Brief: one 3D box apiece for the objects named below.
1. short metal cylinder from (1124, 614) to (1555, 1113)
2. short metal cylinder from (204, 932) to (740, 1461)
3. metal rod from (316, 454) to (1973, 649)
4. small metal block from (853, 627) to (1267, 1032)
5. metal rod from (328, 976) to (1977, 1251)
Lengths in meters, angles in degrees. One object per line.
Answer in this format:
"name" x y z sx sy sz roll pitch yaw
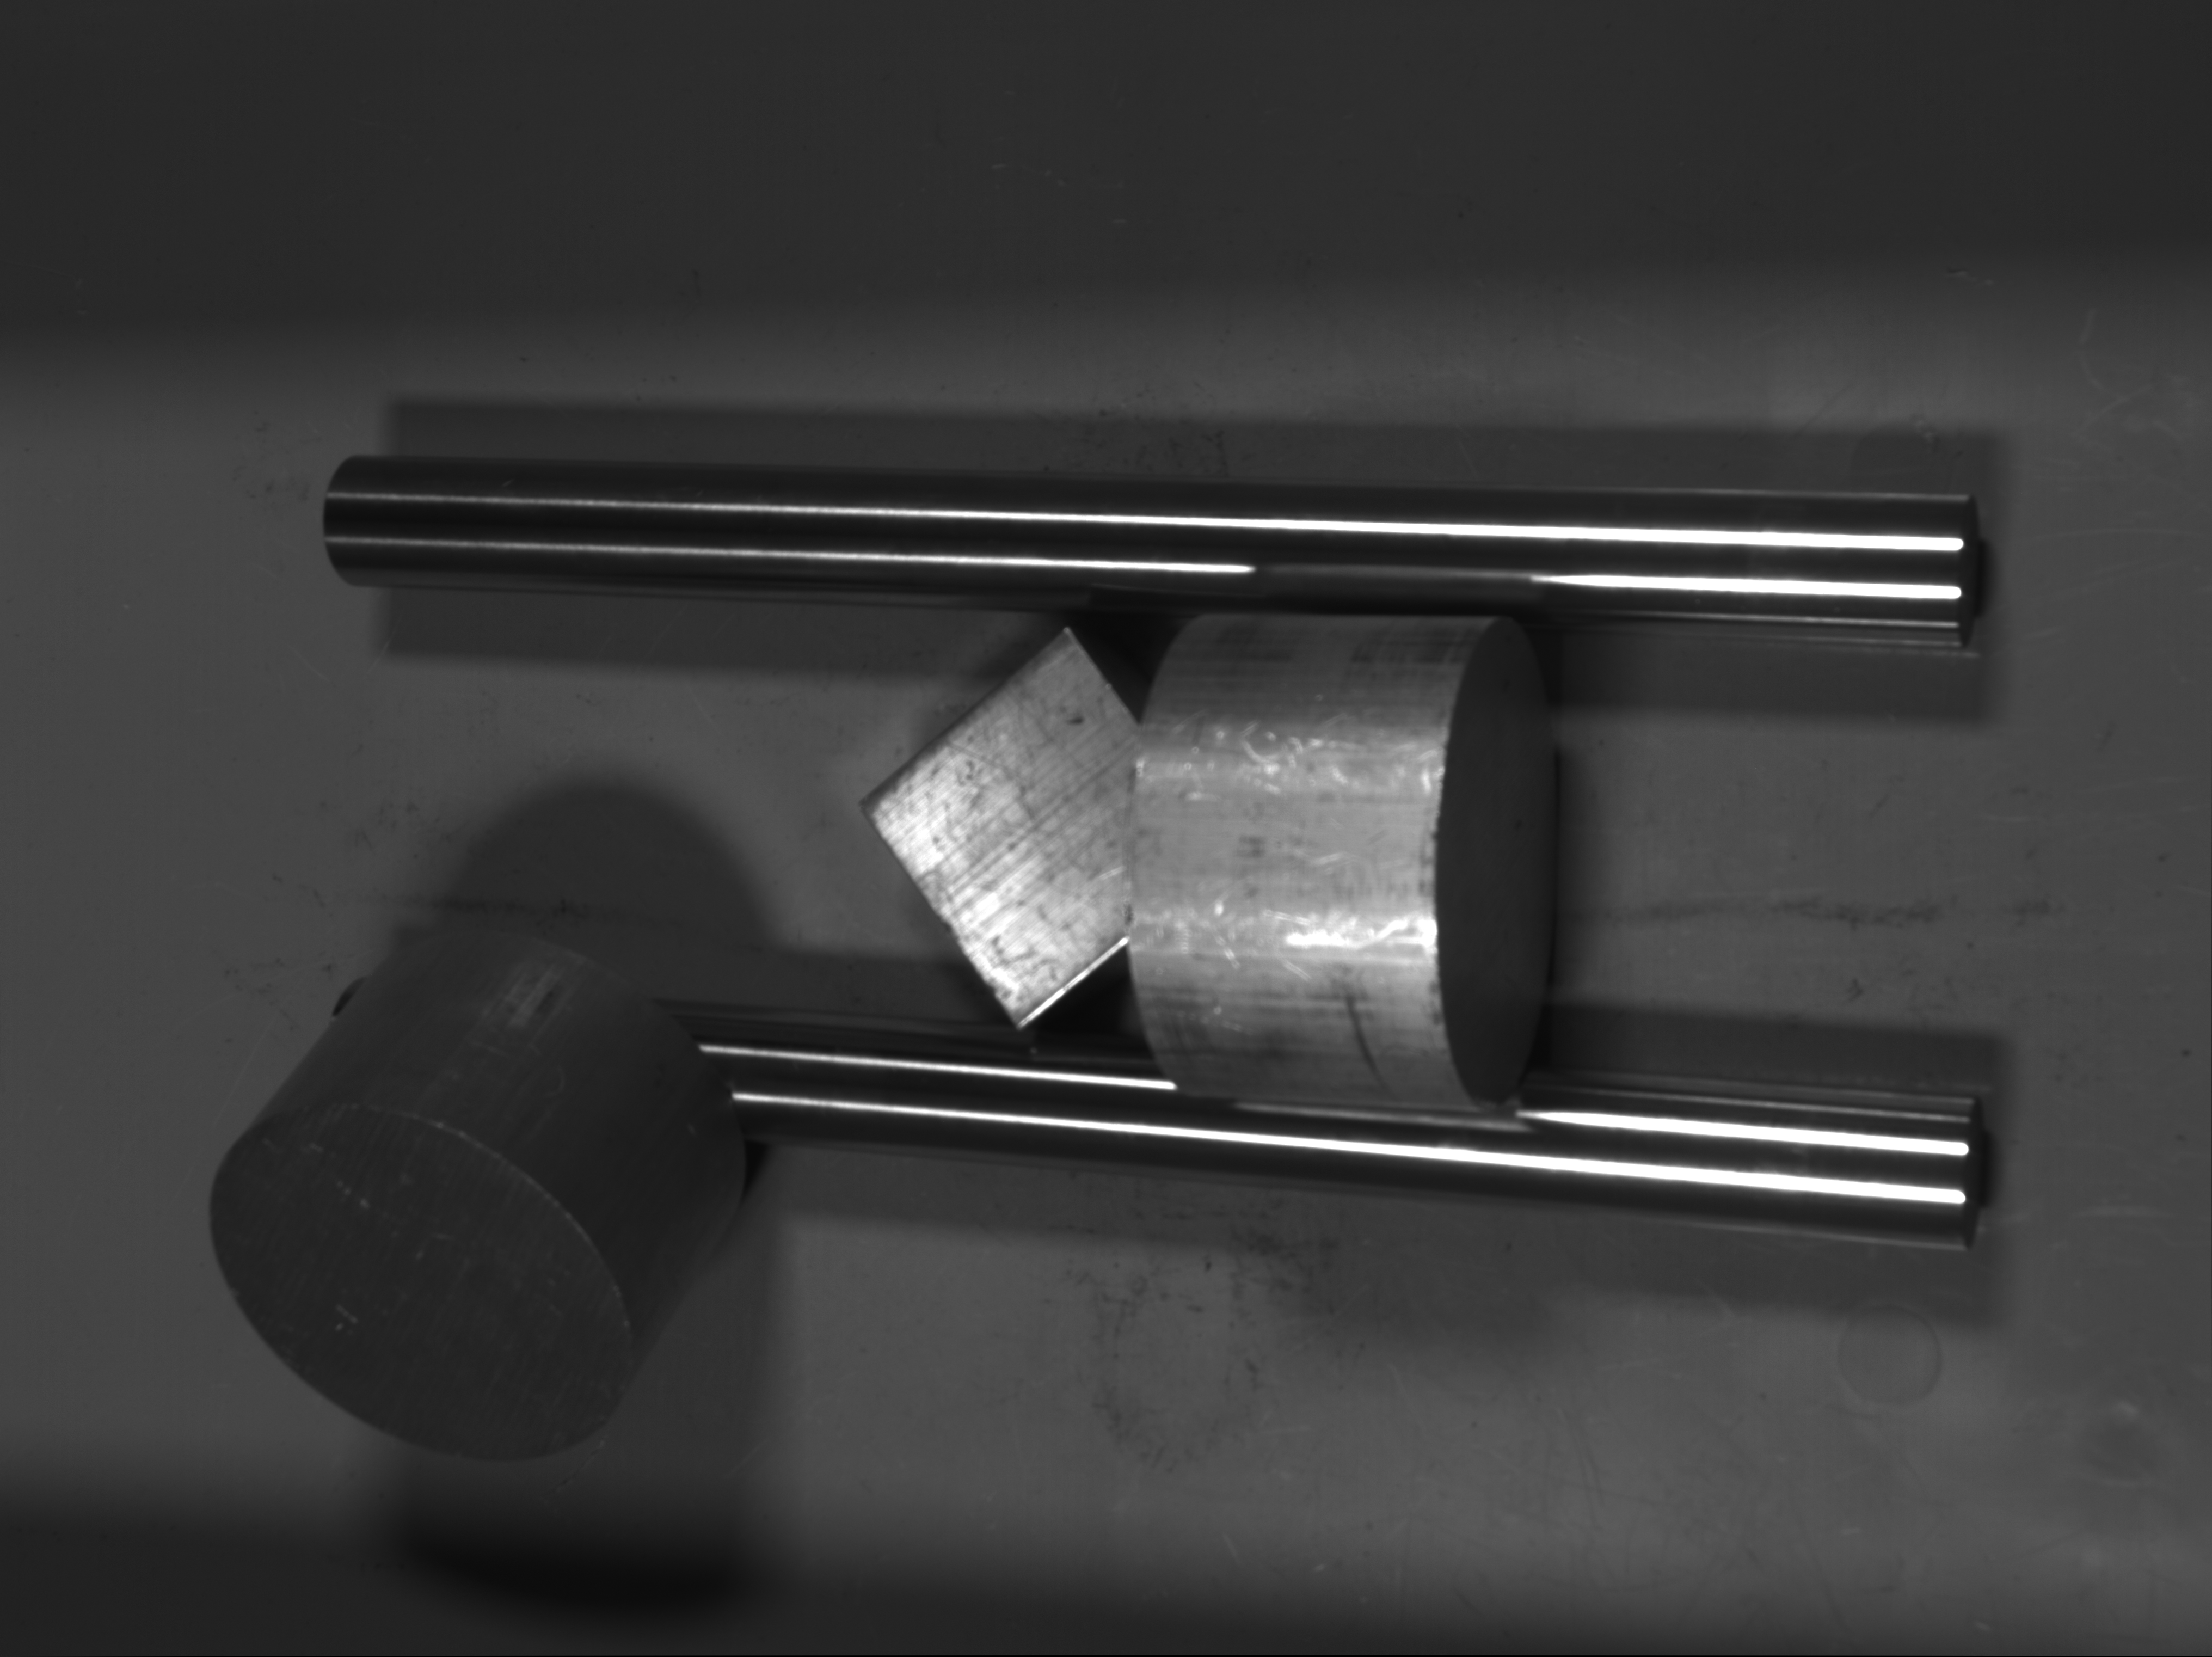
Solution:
"short metal cylinder" 0.040 0.005 0.600 0.050 0.080 0.080 2 90 20
"short metal cylinder" -0.112 0.065 0.651 0.080 0.050 0.080 11 127 14
"metal rod" -0.002 -0.050 0.643 0.299 0.025 0.025 3 91 20
"small metal block" -0.007 0.000 0.646 0.050 0.025 0.050 -39 78 15
"metal rod" -0.001 0.048 0.643 0.299 0.025 0.025 3 91 20
